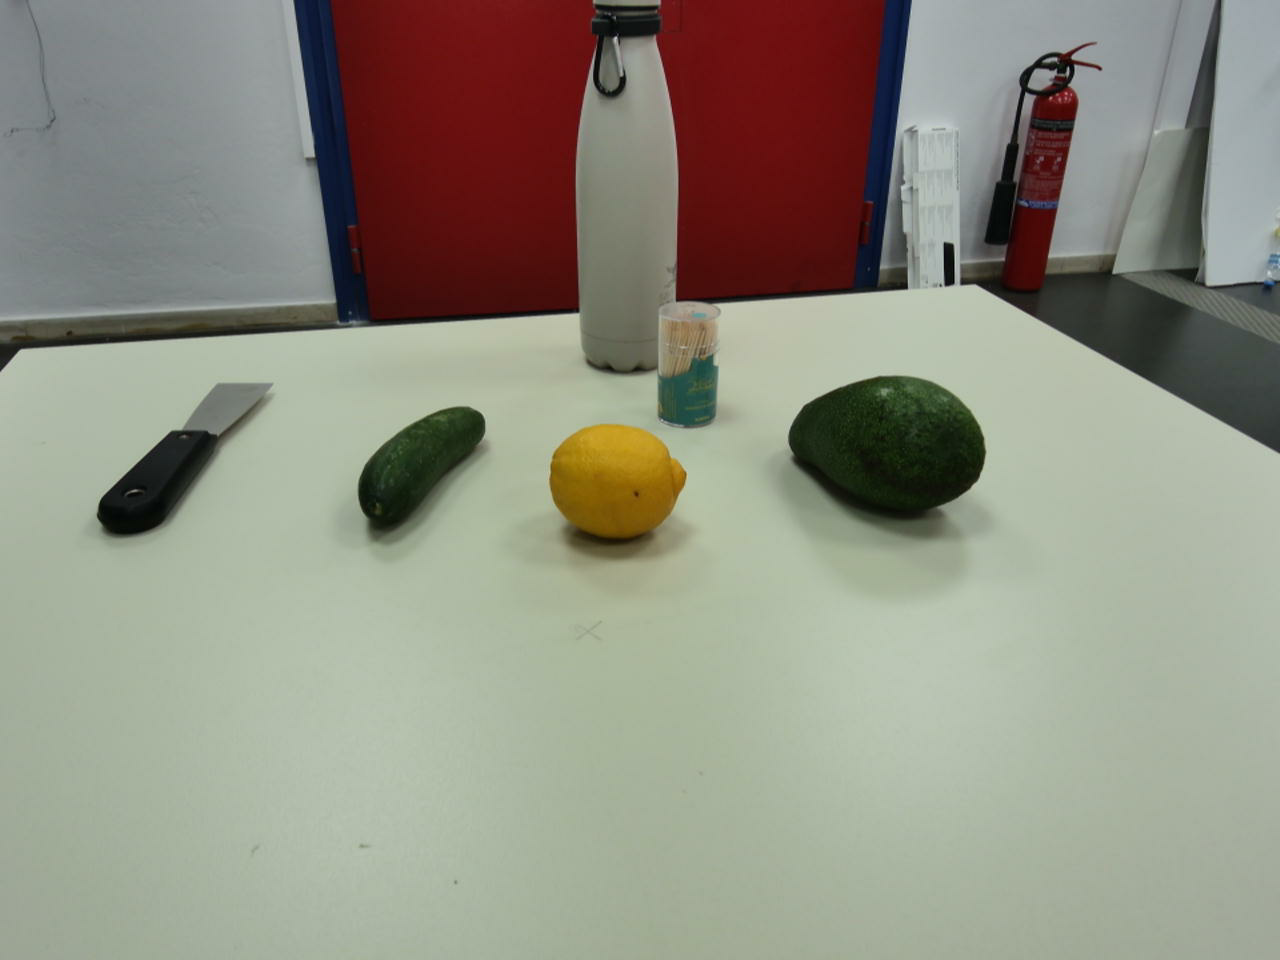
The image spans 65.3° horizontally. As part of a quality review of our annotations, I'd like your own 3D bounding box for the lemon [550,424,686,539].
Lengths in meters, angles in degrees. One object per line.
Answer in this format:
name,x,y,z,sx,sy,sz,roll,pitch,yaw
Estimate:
lemon,-0.013,0.001,0.523,0.067,0.059,0.060,15,29,26
